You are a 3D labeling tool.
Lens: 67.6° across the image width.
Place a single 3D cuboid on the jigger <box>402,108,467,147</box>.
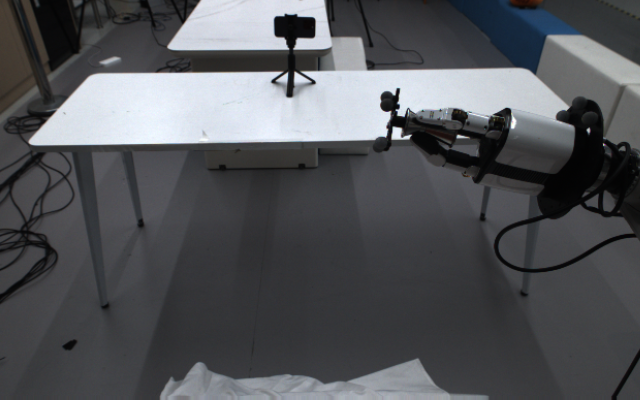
[{"bbox_3d":[0.153,-0.101,0.648,0.071,0.043,0.043,11,35,2],"label":"jigger"}]
